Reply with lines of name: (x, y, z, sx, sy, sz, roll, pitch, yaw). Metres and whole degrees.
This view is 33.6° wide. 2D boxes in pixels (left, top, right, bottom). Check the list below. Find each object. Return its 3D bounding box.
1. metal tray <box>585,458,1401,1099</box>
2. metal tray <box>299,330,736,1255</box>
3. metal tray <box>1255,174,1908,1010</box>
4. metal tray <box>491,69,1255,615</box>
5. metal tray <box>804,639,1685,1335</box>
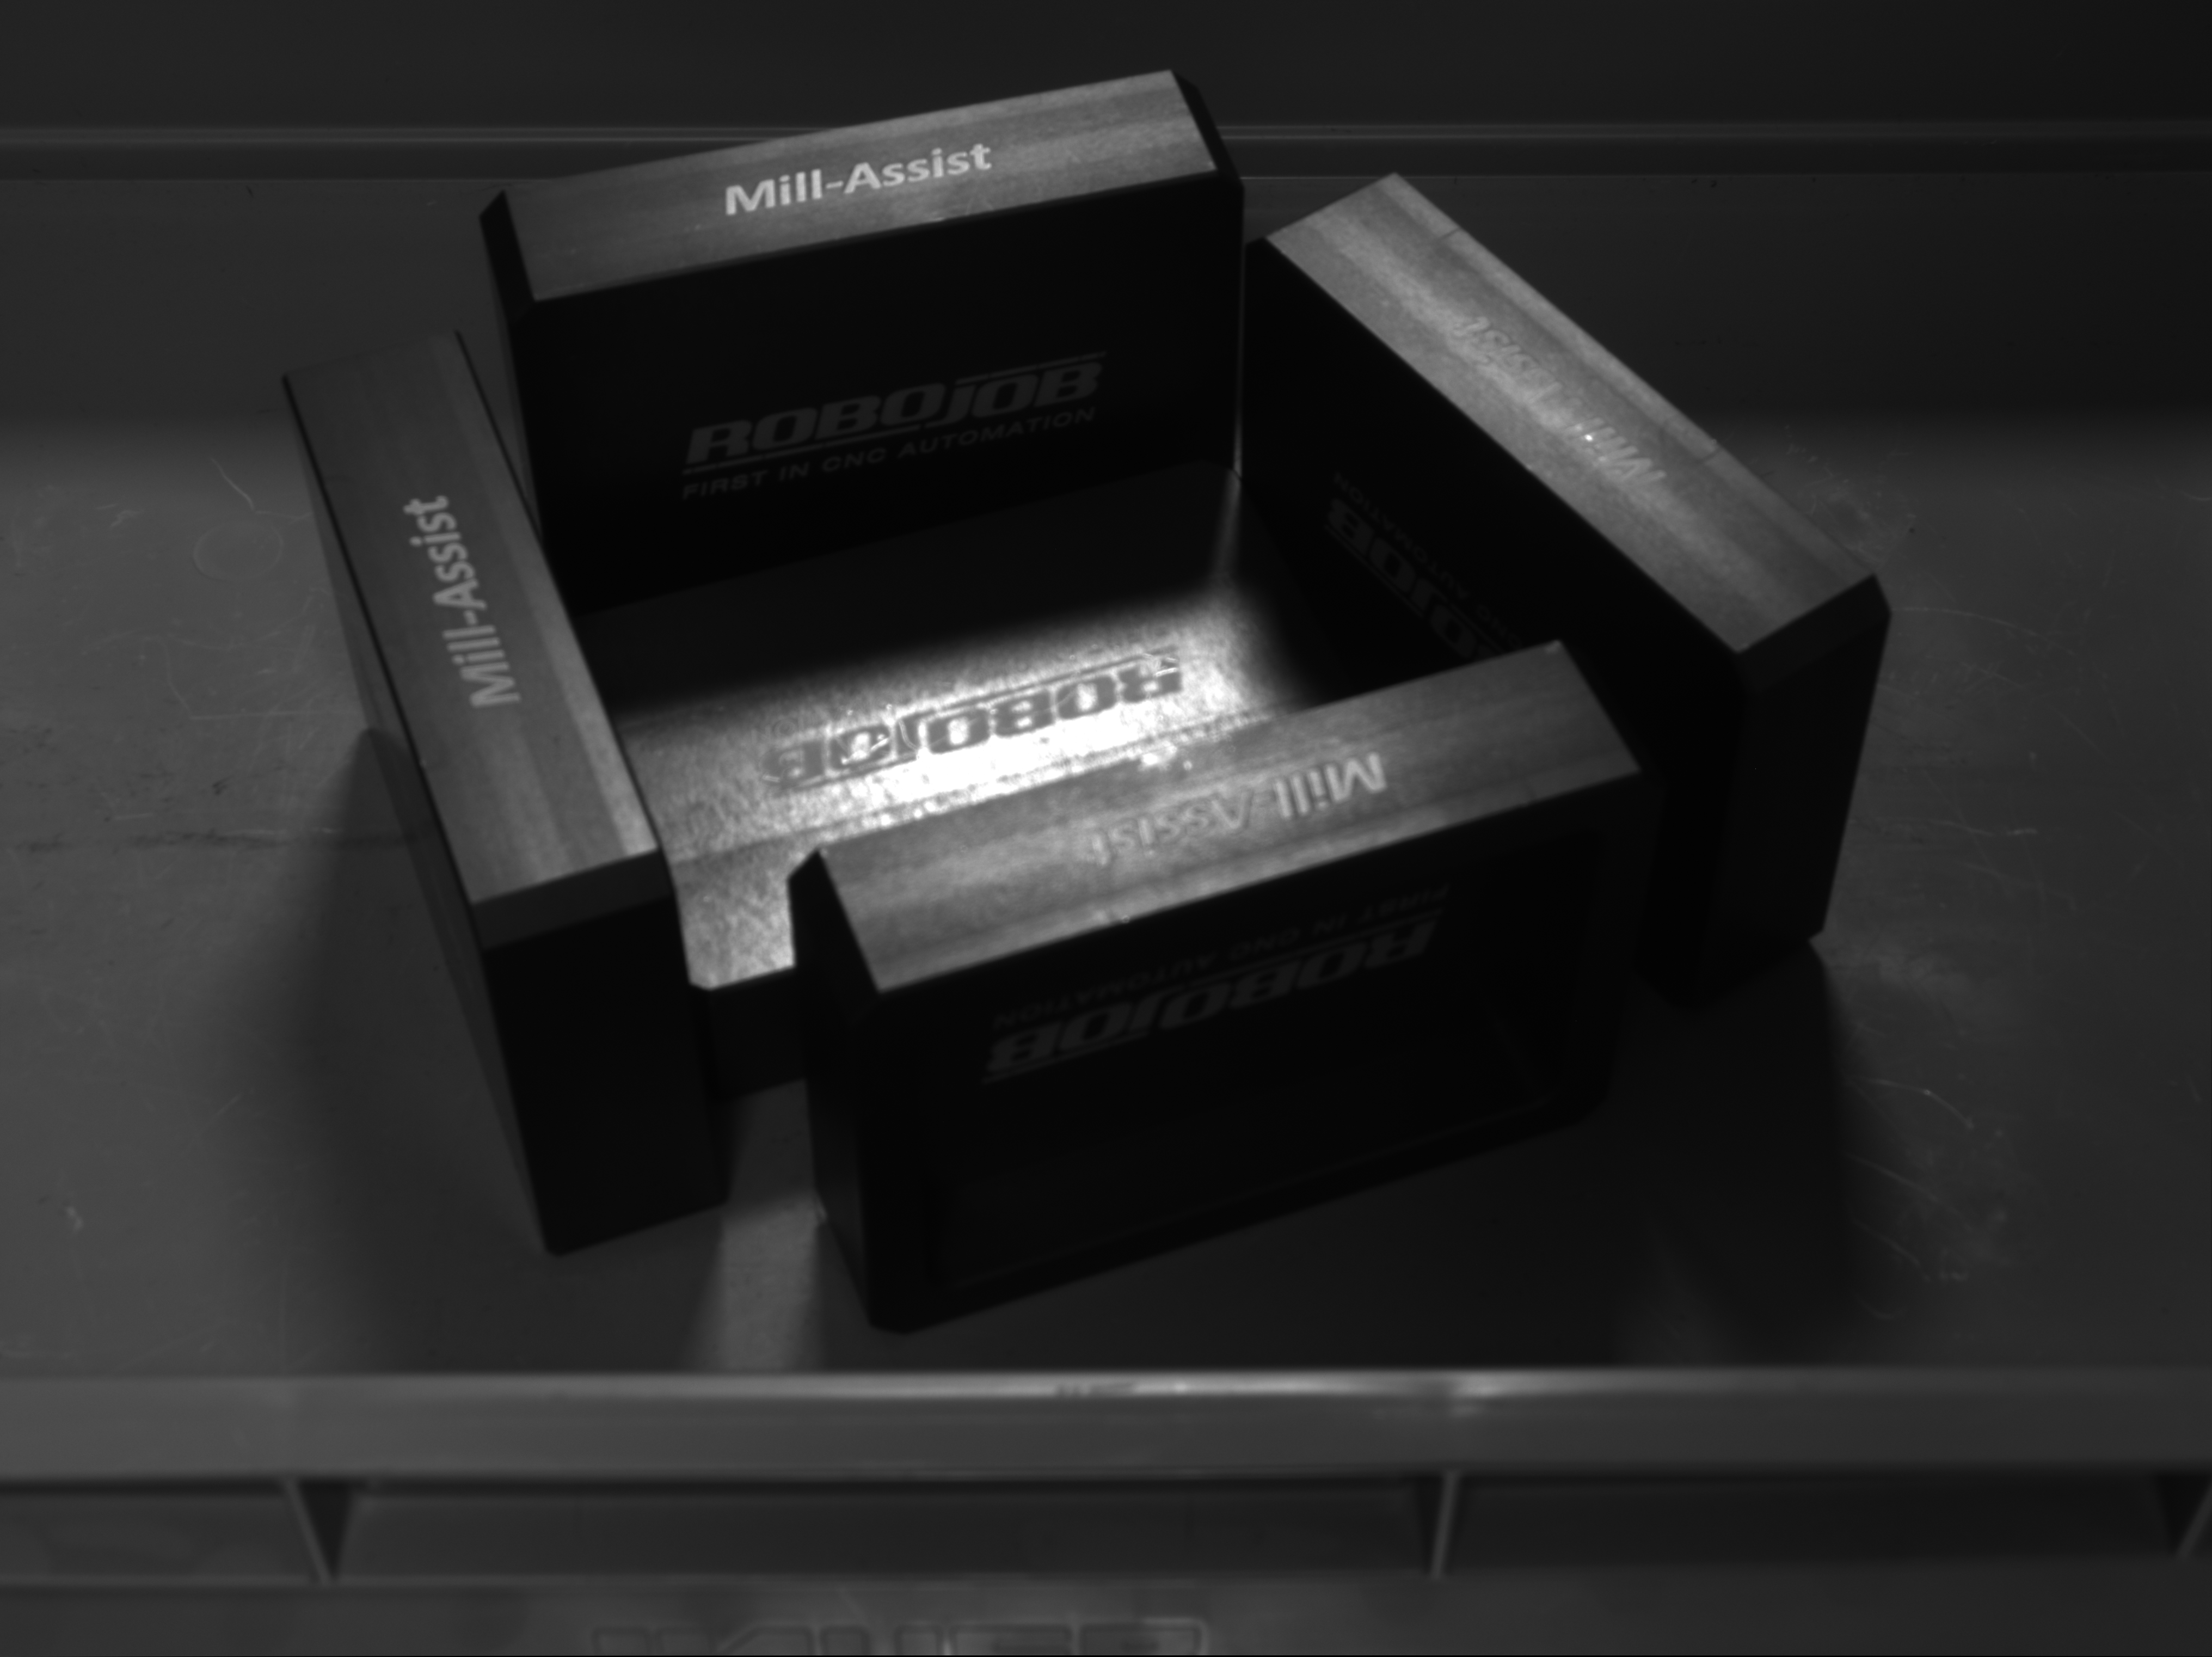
metal tray: (-0.021, -0.011, 0.645, 0.130, 0.030, 0.090, -15, 52, -13)
metal tray: (-0.097, -0.007, 0.603, 0.030, 0.090, 0.130, -16, 52, -13)
metal tray: (0.077, -0.041, 0.633, 0.030, 0.090, 0.130, -29, 56, -22)
metal tray: (-0.040, -0.084, 0.668, 0.130, 0.090, 0.030, -12, 51, -10)
metal tray: (0.021, 0.026, 0.575, 0.130, 0.090, 0.030, -16, 52, -13)
